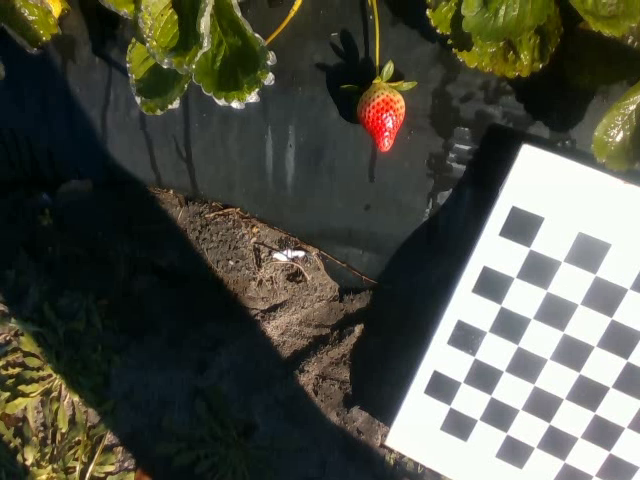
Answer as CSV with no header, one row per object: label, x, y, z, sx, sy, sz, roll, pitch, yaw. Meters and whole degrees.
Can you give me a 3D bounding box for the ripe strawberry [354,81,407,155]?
ripe strawberry,0.046,-0.087,0.426,0.039,0.053,0.040,2,-1,18
